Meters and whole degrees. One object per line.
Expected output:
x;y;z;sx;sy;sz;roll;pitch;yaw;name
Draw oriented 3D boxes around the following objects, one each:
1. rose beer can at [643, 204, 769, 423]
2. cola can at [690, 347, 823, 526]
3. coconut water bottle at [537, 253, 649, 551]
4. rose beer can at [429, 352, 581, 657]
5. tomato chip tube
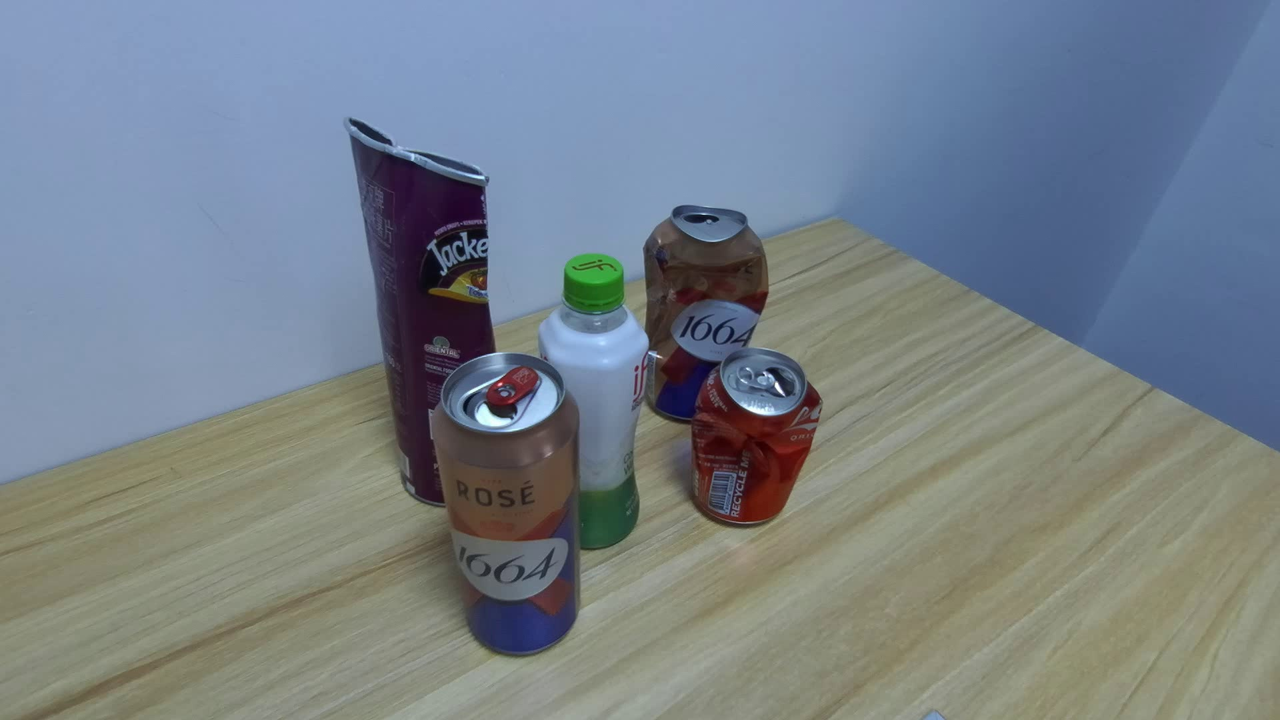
0.043;-0.030;0.515;0.074;0.162;0.067;-15;38;-26;rose beer can
0.069;0.050;0.455;0.069;0.112;0.066;27;45;28;cola can
-0.027;0.028;0.415;0.063;0.189;0.063;1;38;-1;coconut water bottle
-0.064;0.080;0.364;0.069;0.169;0.068;3;38;-2;rose beer can
-0.121;-0.014;0.424;0.078;0.236;0.090;-4;35;-10;tomato chip tube
